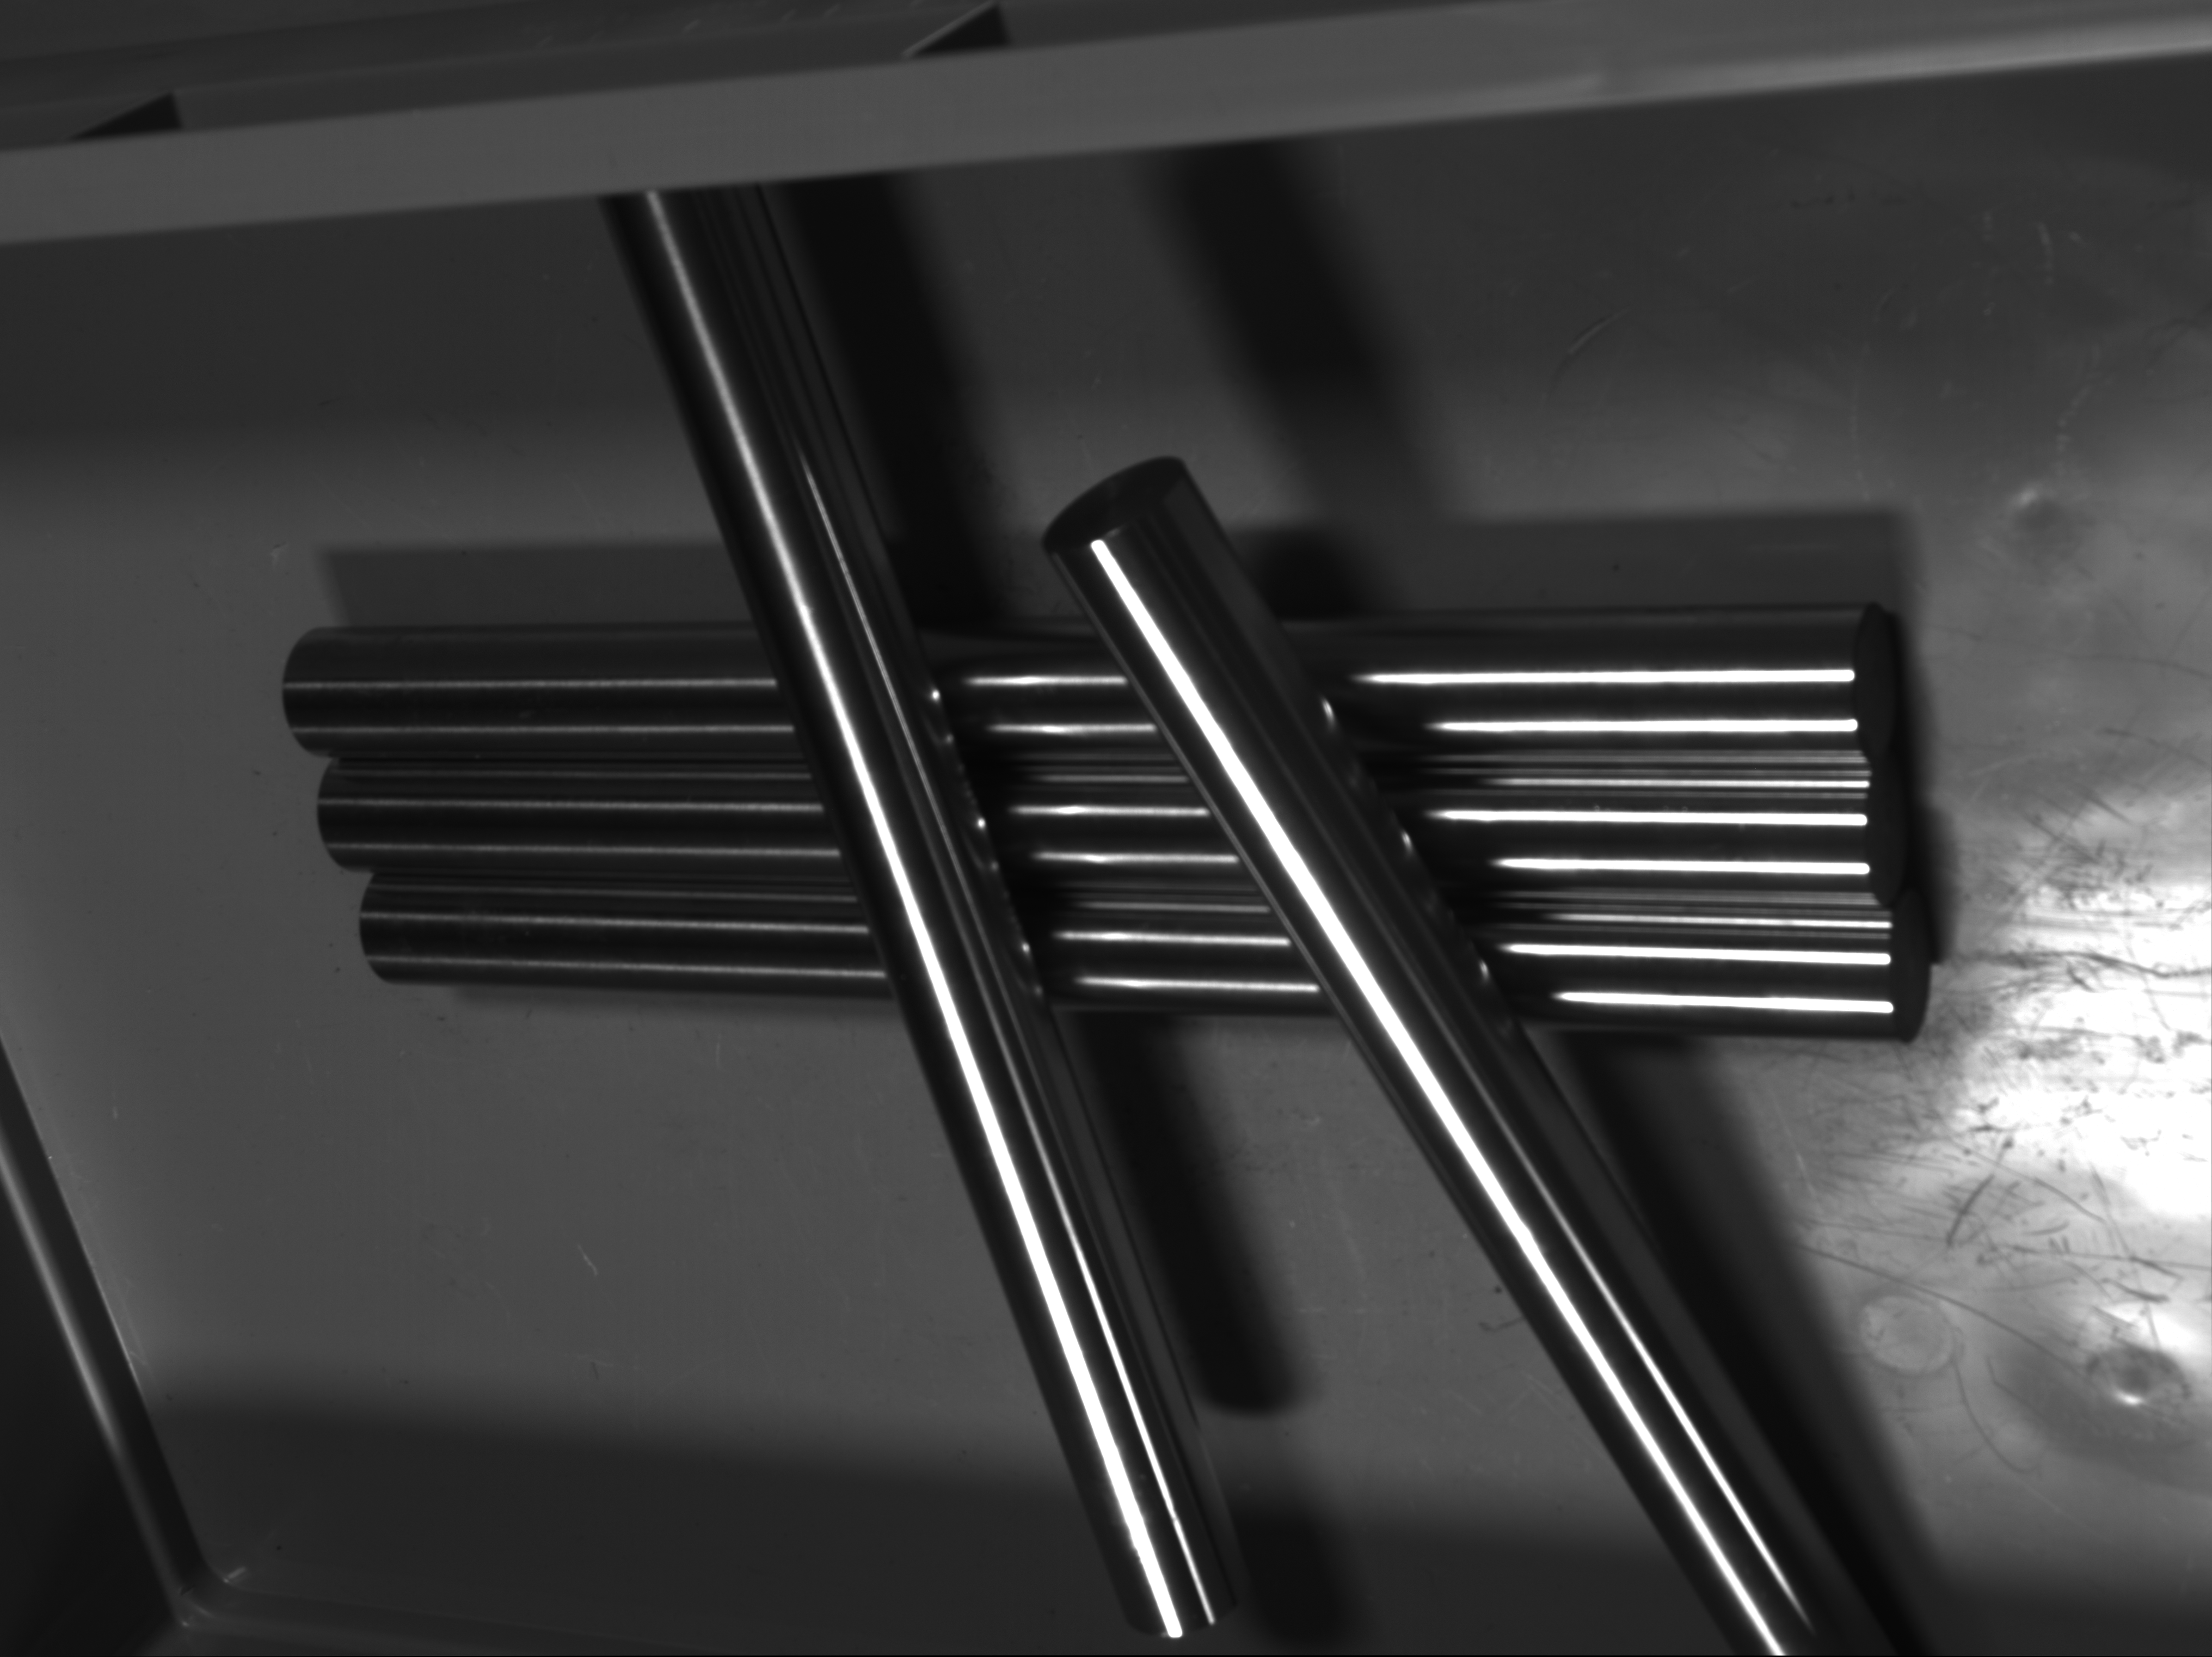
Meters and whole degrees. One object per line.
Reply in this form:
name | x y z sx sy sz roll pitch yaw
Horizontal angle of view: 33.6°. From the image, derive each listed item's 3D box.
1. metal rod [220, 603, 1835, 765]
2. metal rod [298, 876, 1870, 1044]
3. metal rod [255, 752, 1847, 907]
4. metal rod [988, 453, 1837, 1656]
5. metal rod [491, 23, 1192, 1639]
metal rod | -0.026 -0.024 0.628 0.299 0.025 0.025 1 119 26
metal rod | -0.016 0.020 0.650 0.299 0.025 0.025 1 119 26
metal rod | -0.022 -0.002 0.640 0.299 0.025 0.025 1 119 26
metal rod | 0.067 0.068 0.612 0.025 0.025 0.300 -17 117 33
metal rod | -0.040 0.011 0.625 0.025 0.025 0.300 -5 116 29
